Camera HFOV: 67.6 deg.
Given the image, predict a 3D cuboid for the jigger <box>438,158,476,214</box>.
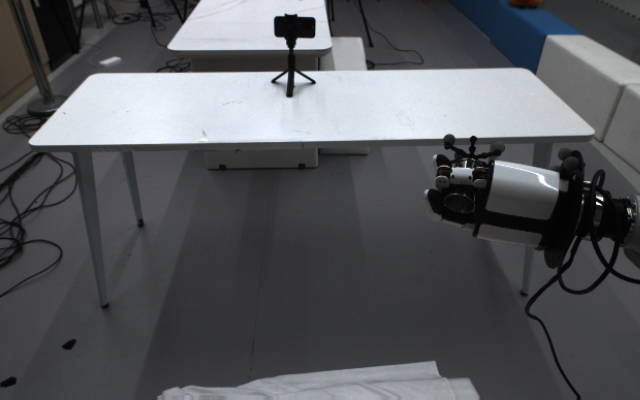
[{"bbox_3d":[0.205,-0.022,0.681,0.043,0.043,0.071,13,58,16],"label":"jigger"}]
